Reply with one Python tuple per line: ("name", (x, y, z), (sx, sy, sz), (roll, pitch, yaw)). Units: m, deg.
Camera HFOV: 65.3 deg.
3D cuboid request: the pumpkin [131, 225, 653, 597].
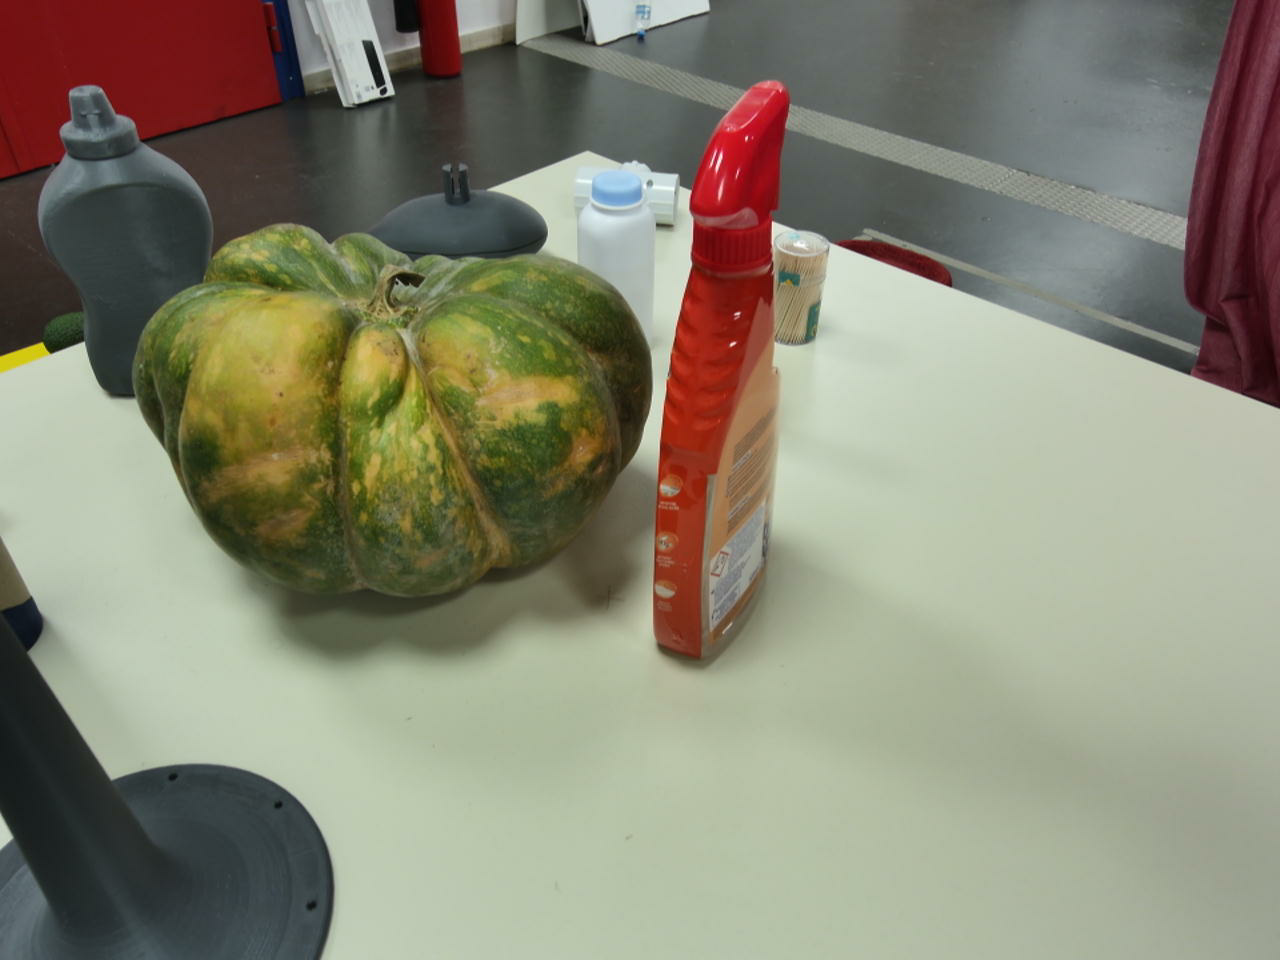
("pumpkin", (-0.130, -0.046, 0.535), (0.270, 0.173, 0.237), (-7, 38, -9))
